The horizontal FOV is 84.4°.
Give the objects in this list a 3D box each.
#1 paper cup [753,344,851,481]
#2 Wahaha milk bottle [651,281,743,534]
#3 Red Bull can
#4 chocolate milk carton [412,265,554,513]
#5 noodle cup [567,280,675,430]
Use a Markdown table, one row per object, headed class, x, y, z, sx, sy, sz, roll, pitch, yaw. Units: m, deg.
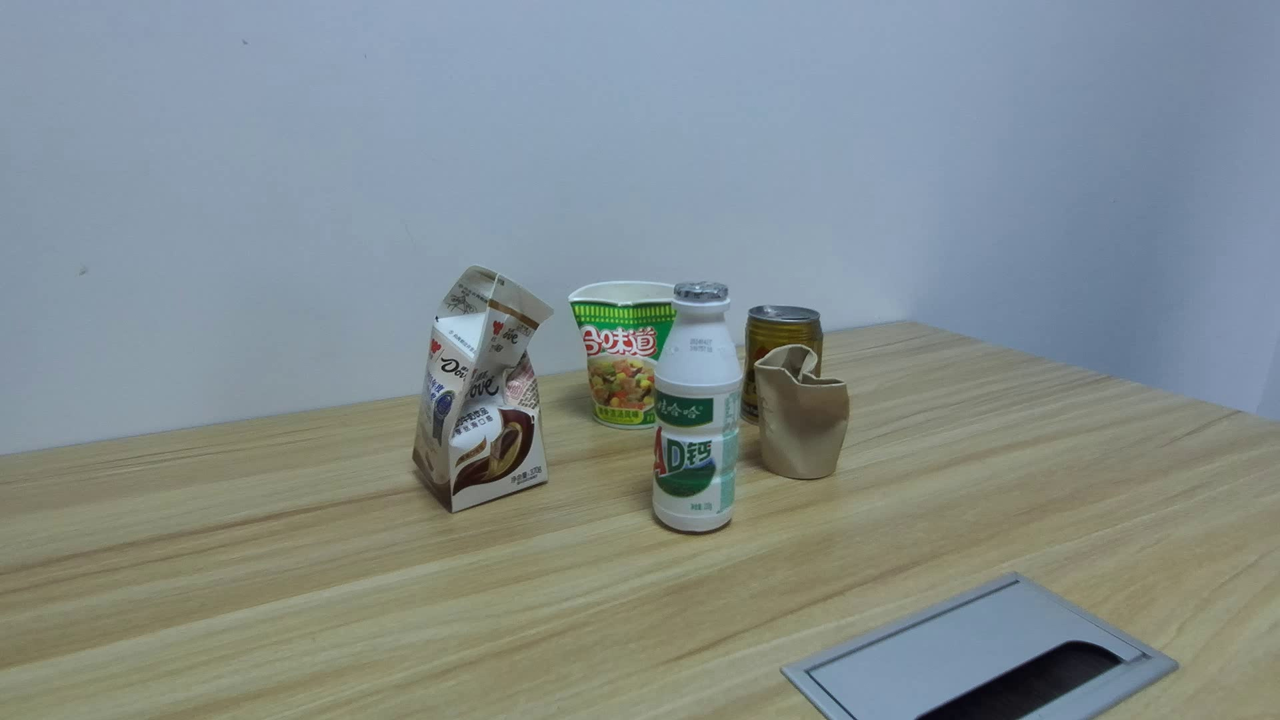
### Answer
| class | x | y | z | sx | sy | sz | roll | pitch | yaw |
| --- | --- | --- | --- | --- | --- | --- | --- | --- | --- |
| paper cup | 0.117 | 0.038 | 0.499 | 0.058 | 0.083 | 0.067 | 14 | 24 | 30 |
| Wahaha milk bottle | 0.034 | 0.029 | 0.423 | 0.053 | 0.147 | 0.053 | 0 | 17 | 0 |
| Red Bull can | 0.119 | 0.004 | 0.601 | 0.068 | 0.093 | 0.068 | 1 | 17 | 0 |
| chocolate milk carton | -0.102 | 0.016 | 0.478 | 0.090 | 0.155 | 0.076 | 4 | 13 | -43 |
| noodle cup | -0.005 | -0.010 | 0.597 | 0.093 | 0.109 | 0.087 | 9 | 26 | 18 |
